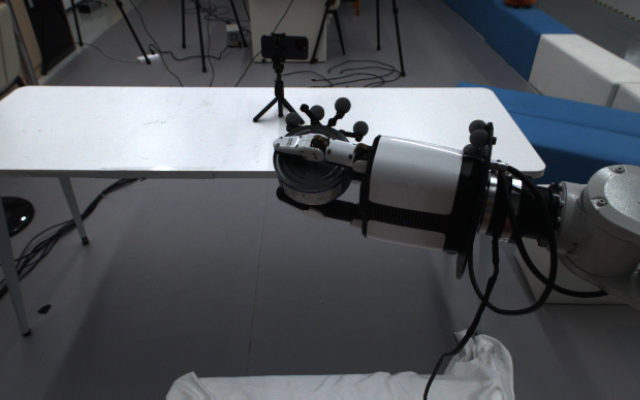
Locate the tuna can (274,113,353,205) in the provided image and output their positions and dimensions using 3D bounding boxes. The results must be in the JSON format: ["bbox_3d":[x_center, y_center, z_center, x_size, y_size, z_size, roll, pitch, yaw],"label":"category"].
[{"bbox_3d":[-0.006,-0.042,0.524,0.085,0.034,0.085,-2,56,3],"label":"tuna can"}]
